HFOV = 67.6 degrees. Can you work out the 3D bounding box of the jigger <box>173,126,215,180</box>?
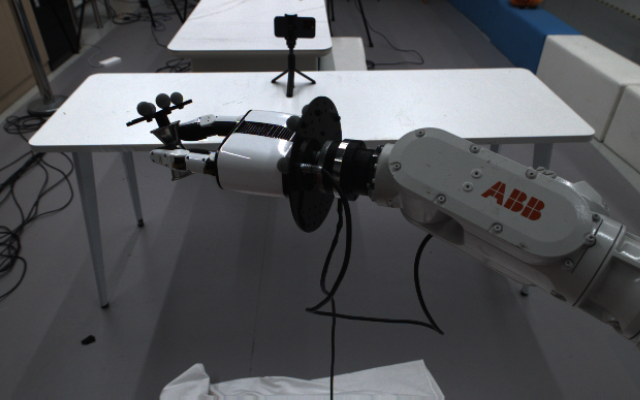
[{"bbox_3d":[-0.183,-0.065,0.632,0.043,0.071,0.043,-20,16,6],"label":"jigger"}]
